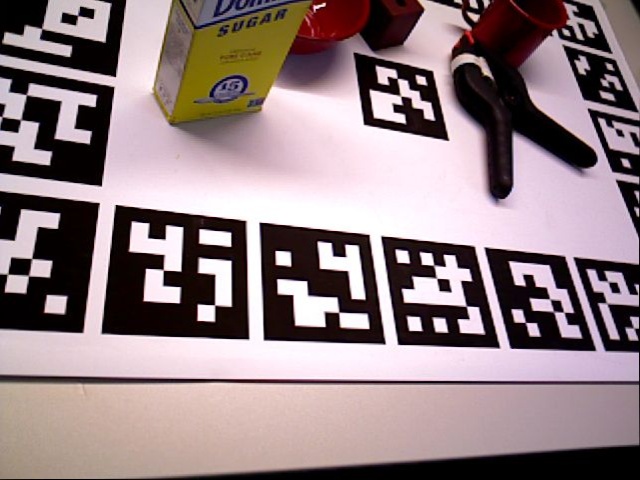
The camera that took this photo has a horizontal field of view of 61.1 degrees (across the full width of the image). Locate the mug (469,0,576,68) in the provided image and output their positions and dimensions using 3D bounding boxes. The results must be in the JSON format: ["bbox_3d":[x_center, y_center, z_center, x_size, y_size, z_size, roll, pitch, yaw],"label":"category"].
[{"bbox_3d":[0.232,-0.269,0.655,0.117,0.083,0.091,30,56,-11],"label":"mug"}]

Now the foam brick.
[{"bbox_3d":[0.070,-0.252,0.605,0.051,0.052,0.078,-23,77,-30],"label":"foam brick"}]

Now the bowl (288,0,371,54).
[{"bbox_3d":[-0.032,-0.243,0.547,0.160,0.056,0.159,10,61,-20],"label":"bowl"}]

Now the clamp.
[{"bbox_3d":[0.207,-0.150,0.606,0.162,0.037,0.202,-19,75,-28],"label":"clamp"}]

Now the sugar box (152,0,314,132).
[{"bbox_3d":[-0.066,-0.158,0.415,0.091,0.180,0.045,-20,75,-32],"label":"sugar box"}]
